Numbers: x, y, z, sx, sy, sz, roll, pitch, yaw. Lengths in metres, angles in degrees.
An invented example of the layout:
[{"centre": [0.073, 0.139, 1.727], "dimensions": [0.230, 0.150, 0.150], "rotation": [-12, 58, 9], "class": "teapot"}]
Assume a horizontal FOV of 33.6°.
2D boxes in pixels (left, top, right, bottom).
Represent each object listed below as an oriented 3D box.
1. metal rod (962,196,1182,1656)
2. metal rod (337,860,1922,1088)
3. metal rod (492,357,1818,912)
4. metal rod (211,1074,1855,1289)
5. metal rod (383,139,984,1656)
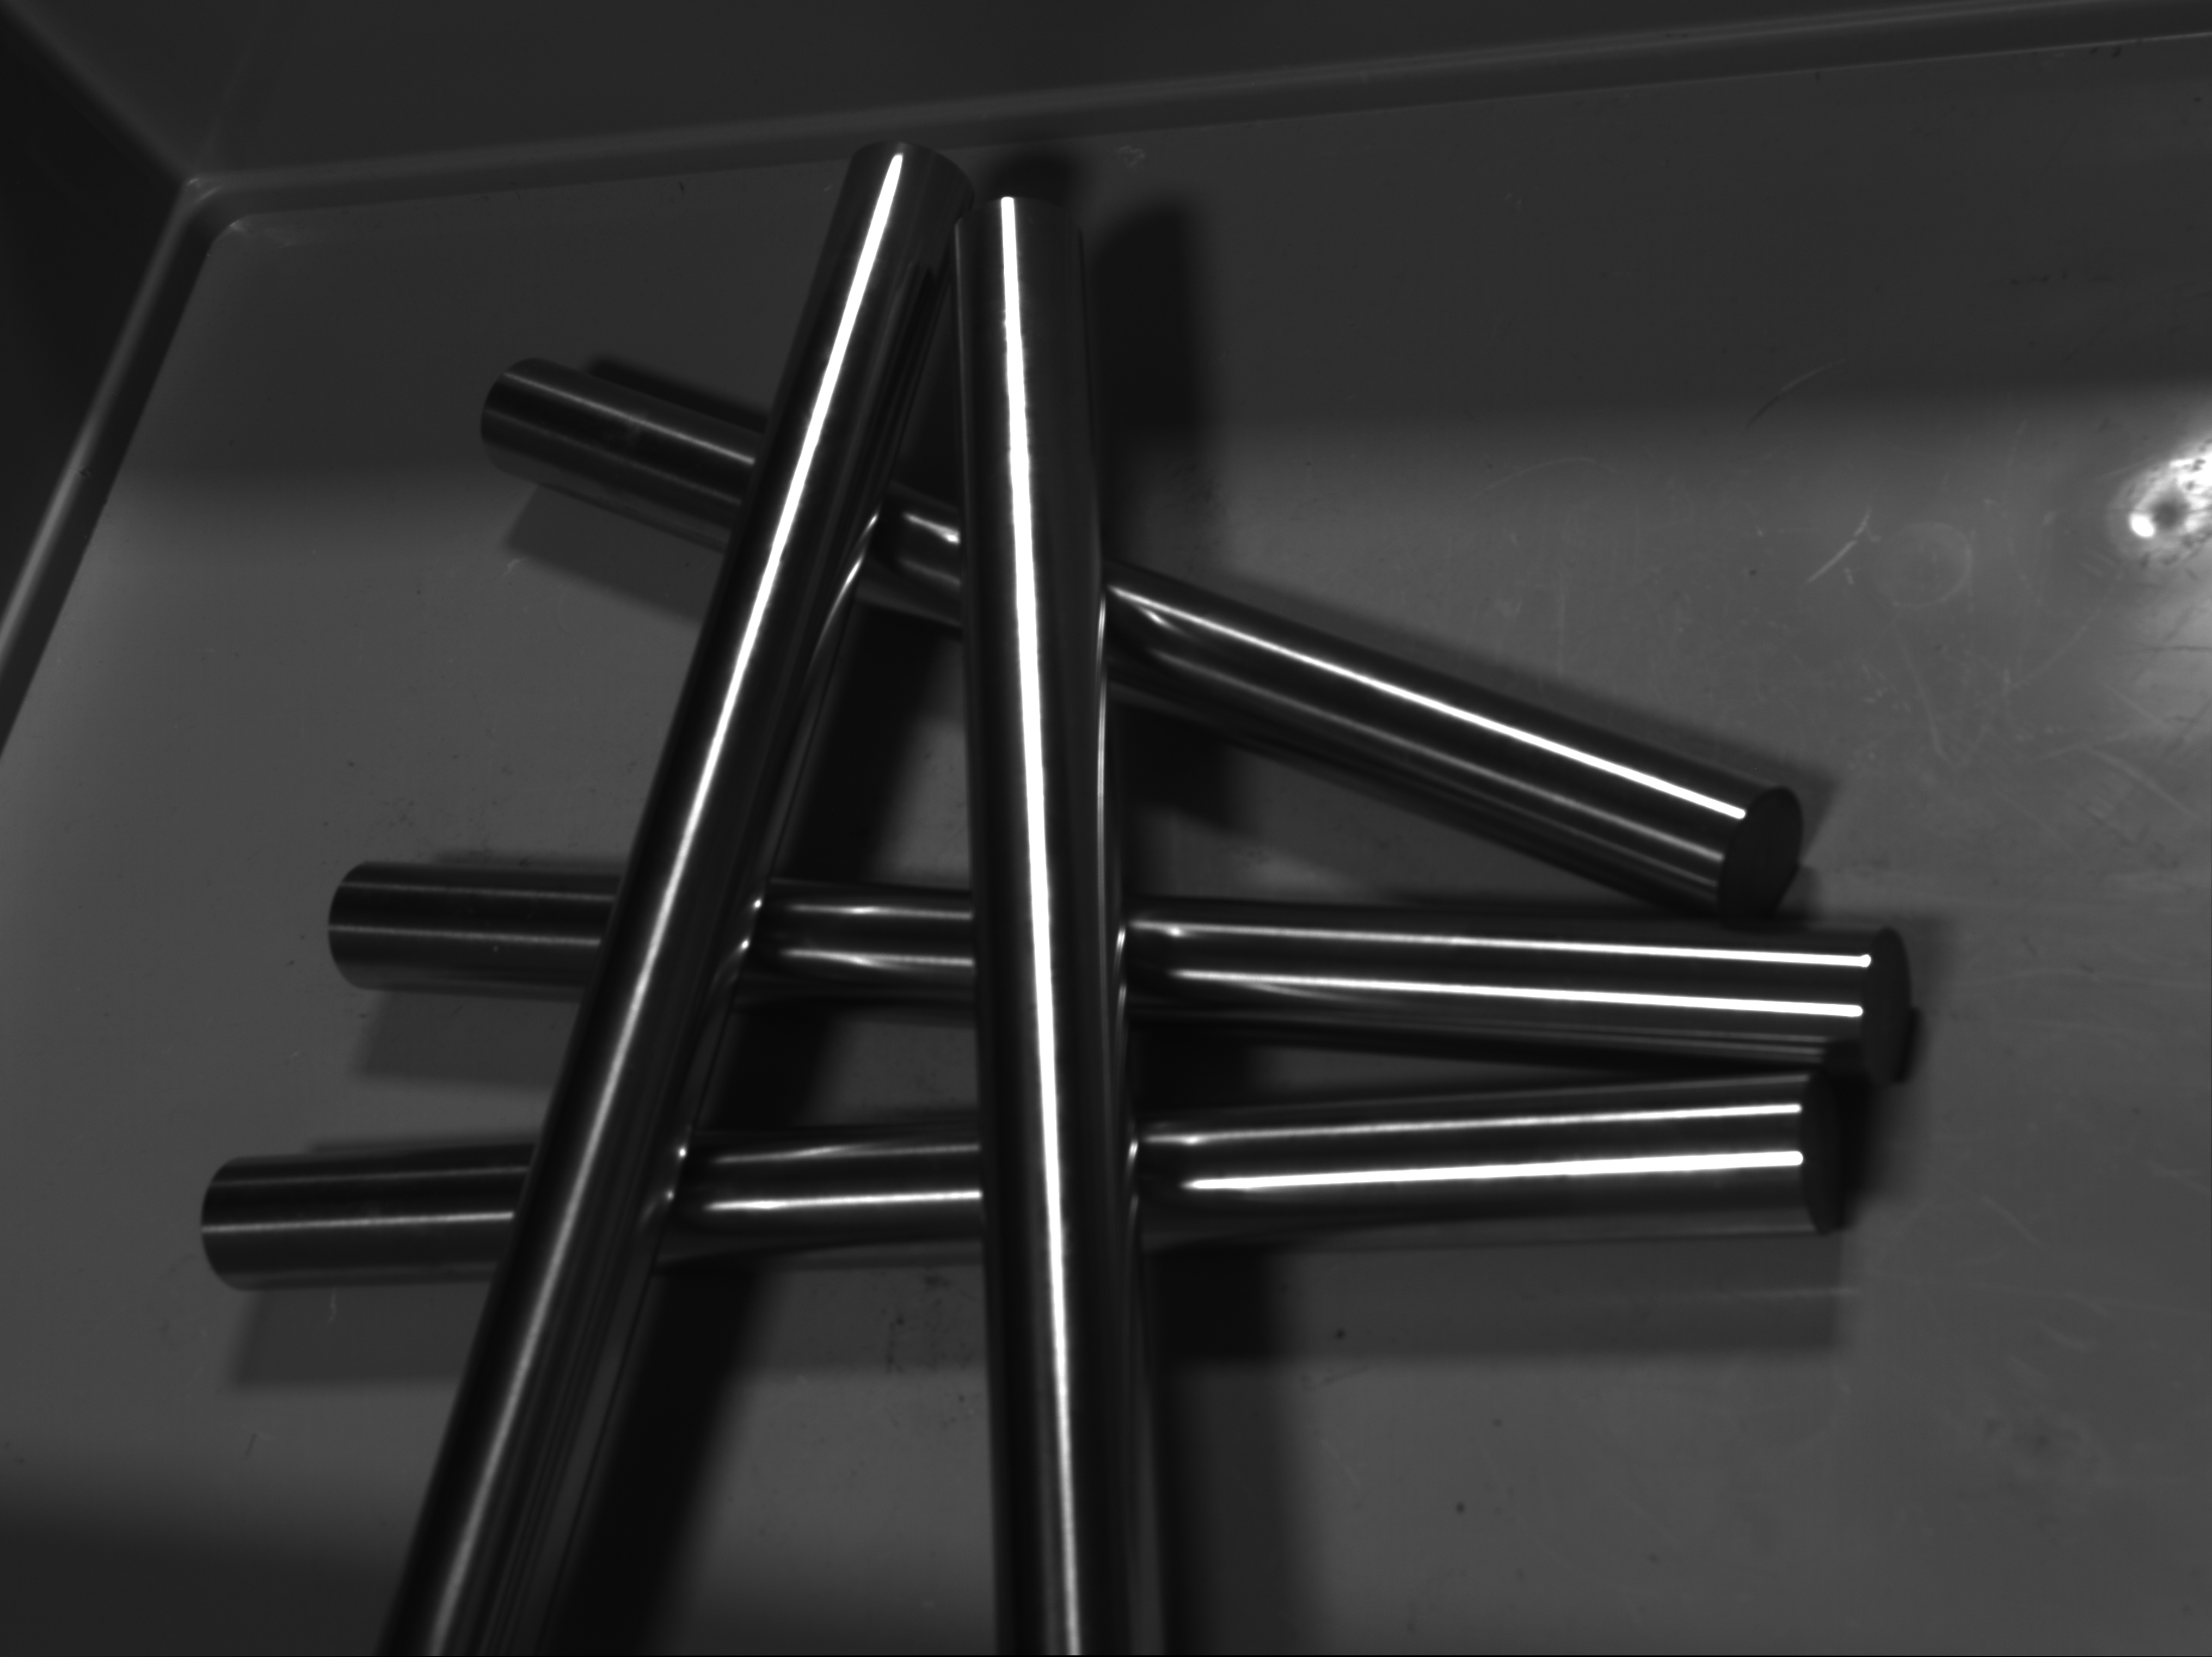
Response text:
[{"centre": [-0.007, 0.016, 0.605], "dimensions": [0.025, 0.025, 0.300], "rotation": [-16, 55, 19], "class": "metal rod"}, {"centre": [-0.009, 0.023, 0.633], "dimensions": [0.299, 0.025, 0.025], "rotation": [2, 62, 29], "class": "metal rod"}, {"centre": [-0.006, -0.040, 0.670], "dimensions": [0.299, 0.025, 0.025], "rotation": [22, 73, 36], "class": "metal rod"}, {"centre": [-0.024, 0.062, 0.618], "dimensions": [0.299, 0.025, 0.025], "rotation": [-5, 59, 26], "class": "metal rod"}, {"centre": [-0.070, 0.007, 0.643], "dimensions": [0.025, 0.025, 0.300], "rotation": [0, 61, 28], "class": "metal rod"}]
